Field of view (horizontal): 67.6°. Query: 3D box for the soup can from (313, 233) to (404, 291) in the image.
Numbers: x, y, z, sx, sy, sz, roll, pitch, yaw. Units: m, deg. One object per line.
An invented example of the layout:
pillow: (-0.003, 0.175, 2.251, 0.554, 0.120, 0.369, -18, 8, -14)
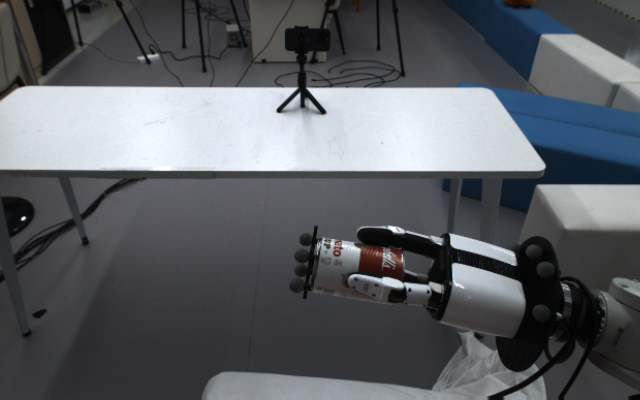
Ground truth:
soup can: (0.046, 0.083, 0.574, 0.101, 0.067, 0.067, 9, 35, 0)
